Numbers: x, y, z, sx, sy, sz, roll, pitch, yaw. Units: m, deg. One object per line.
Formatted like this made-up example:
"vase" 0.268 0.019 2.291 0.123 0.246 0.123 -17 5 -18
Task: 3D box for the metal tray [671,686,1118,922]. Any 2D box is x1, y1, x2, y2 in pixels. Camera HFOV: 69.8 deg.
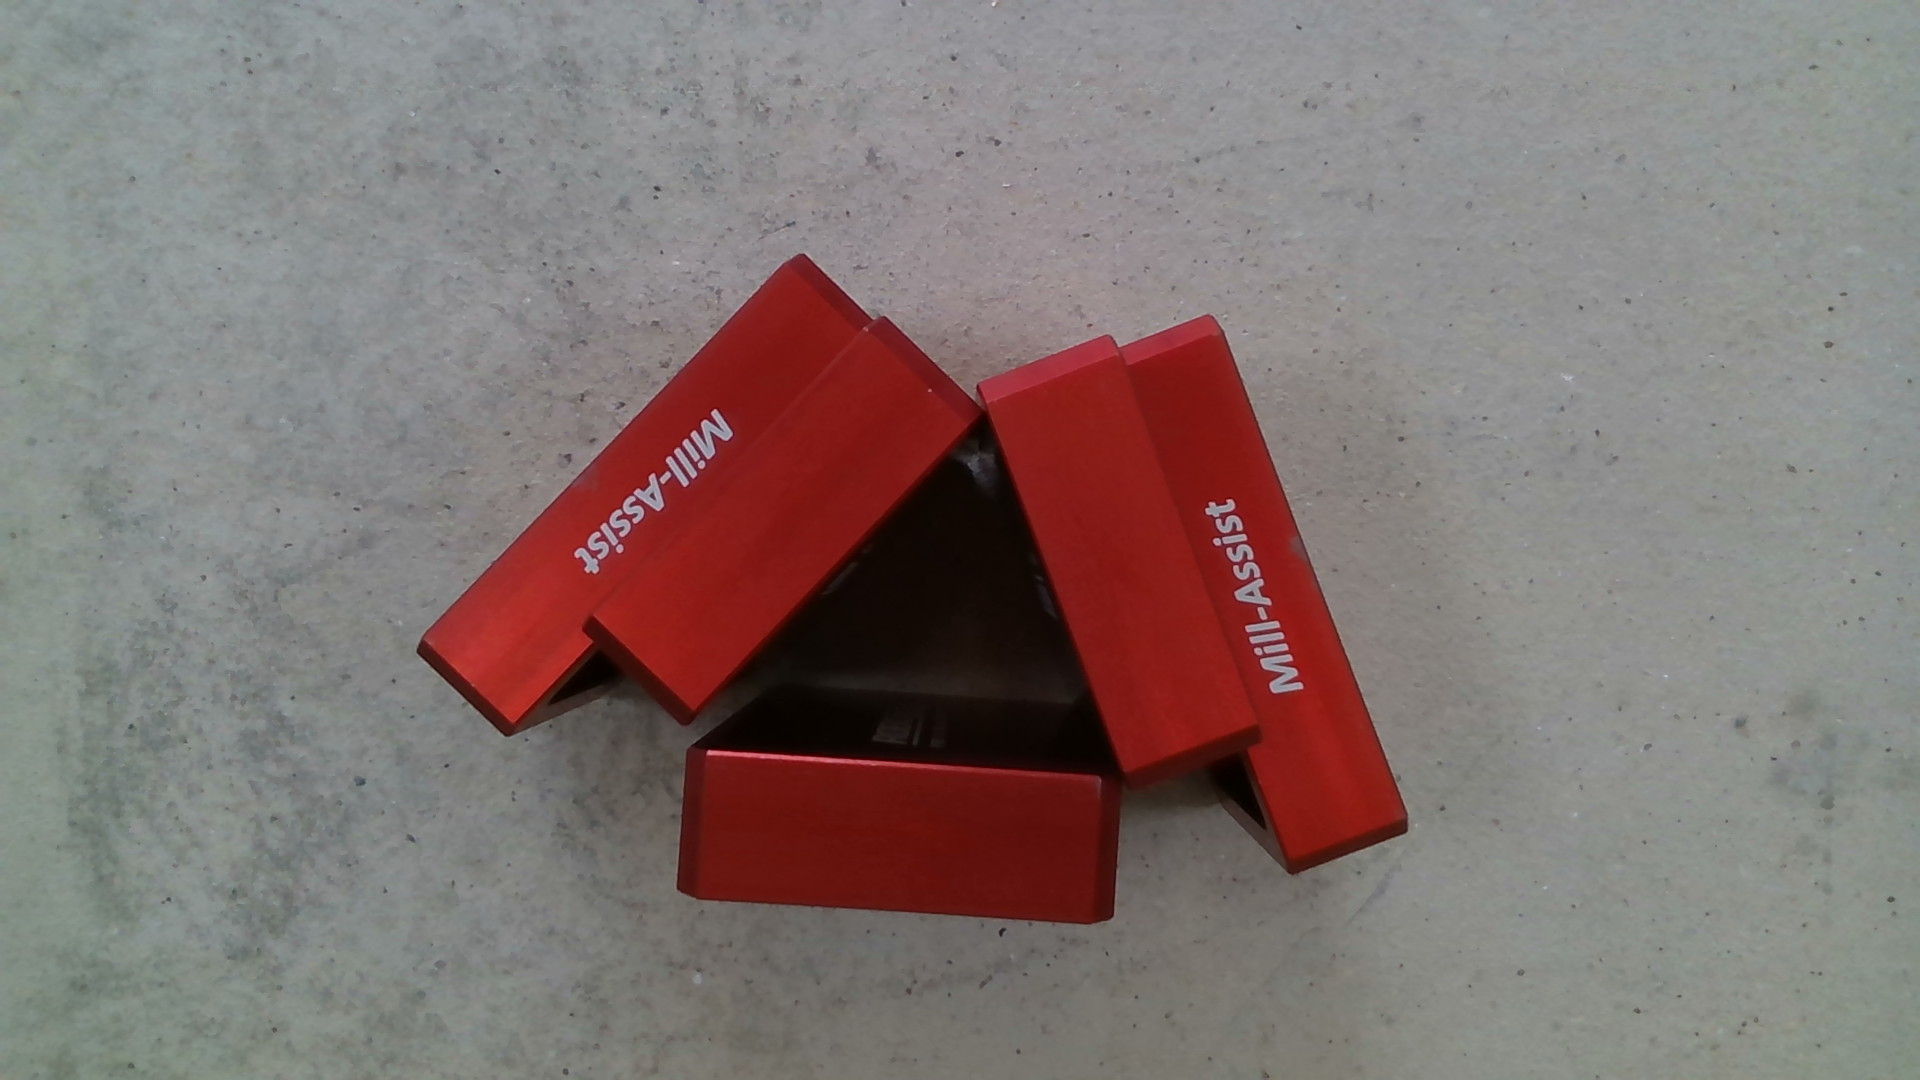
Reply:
"metal tray" -0.013 0.059 0.343 0.090 0.130 0.030 5 90 0

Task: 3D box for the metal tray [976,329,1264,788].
"metal tray" 0.033 0.004 0.342 0.030 0.130 0.090 -21 90 0

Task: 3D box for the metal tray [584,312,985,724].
"metal tray" -0.036 -0.005 0.342 0.030 0.130 0.090 44 90 0

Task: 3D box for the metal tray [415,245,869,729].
"metal tray" -0.072 -0.012 0.362 0.030 0.090 0.130 44 90 0

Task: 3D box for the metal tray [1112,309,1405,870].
"metal tray" 0.068 0.012 0.362 0.030 0.090 0.130 -20 90 0
